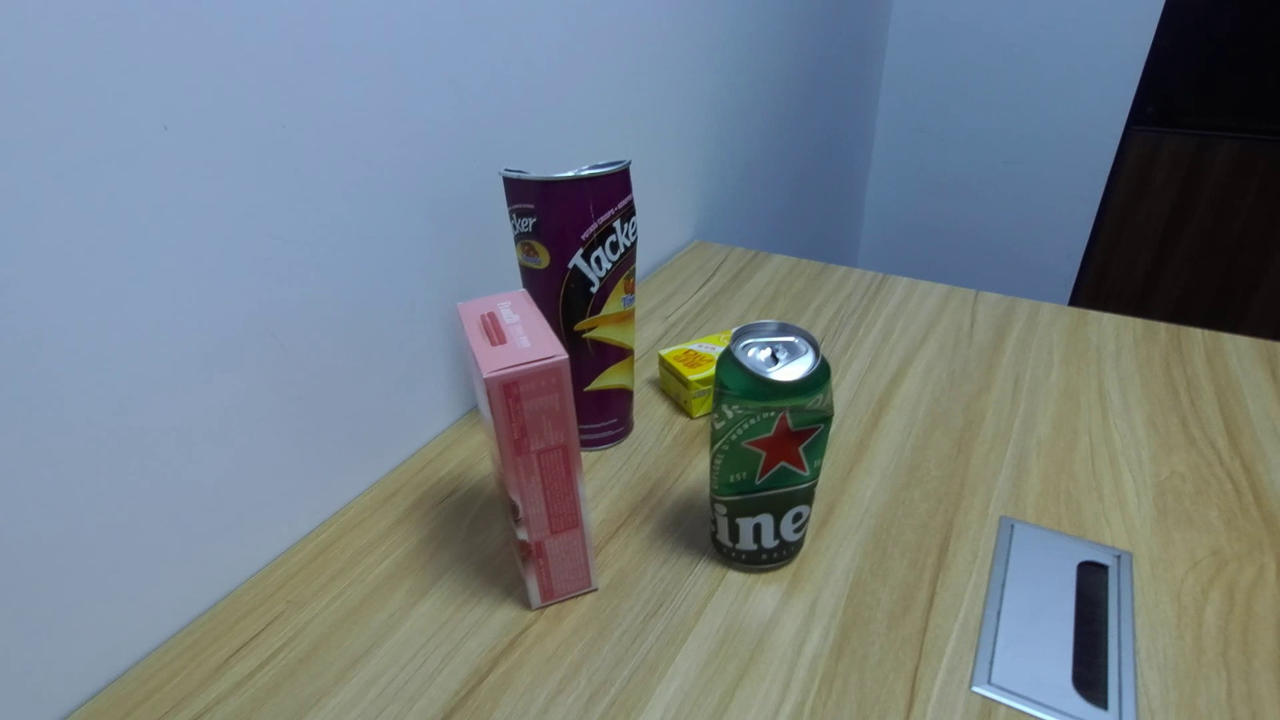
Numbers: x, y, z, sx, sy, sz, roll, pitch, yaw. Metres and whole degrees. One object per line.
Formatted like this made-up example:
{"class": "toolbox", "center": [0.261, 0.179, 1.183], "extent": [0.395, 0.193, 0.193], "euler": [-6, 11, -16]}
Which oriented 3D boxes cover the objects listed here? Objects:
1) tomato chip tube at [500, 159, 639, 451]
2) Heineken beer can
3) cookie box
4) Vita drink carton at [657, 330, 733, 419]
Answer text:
{"class": "tomato chip tube", "center": [-0.047, -0.042, 0.574], "extent": [0.077, 0.235, 0.076], "euler": [16, -144, 29]}
{"class": "Heineken beer can", "center": [0.081, 0.061, 0.457], "extent": [0.068, 0.168, 0.069], "euler": [17, -142, 25]}
{"class": "cookie box", "center": [-0.069, 0.060, 0.454], "extent": [0.048, 0.185, 0.096], "euler": [-14, -147, -16]}
{"class": "Vita drink carton", "center": [0.081, 0.008, 0.745], "extent": [0.109, 0.043, 0.066], "euler": [-16, -144, -26]}
